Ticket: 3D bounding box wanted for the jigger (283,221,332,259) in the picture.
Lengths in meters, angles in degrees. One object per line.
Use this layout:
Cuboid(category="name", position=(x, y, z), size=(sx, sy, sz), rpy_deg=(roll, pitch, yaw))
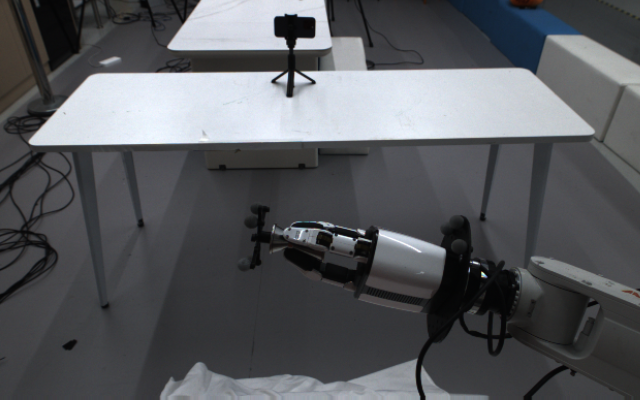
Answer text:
Cuboid(category="jigger", position=(-0.019, 0.050, 0.608), size=(0.071, 0.043, 0.043), rpy_deg=(8, 35, 2))
